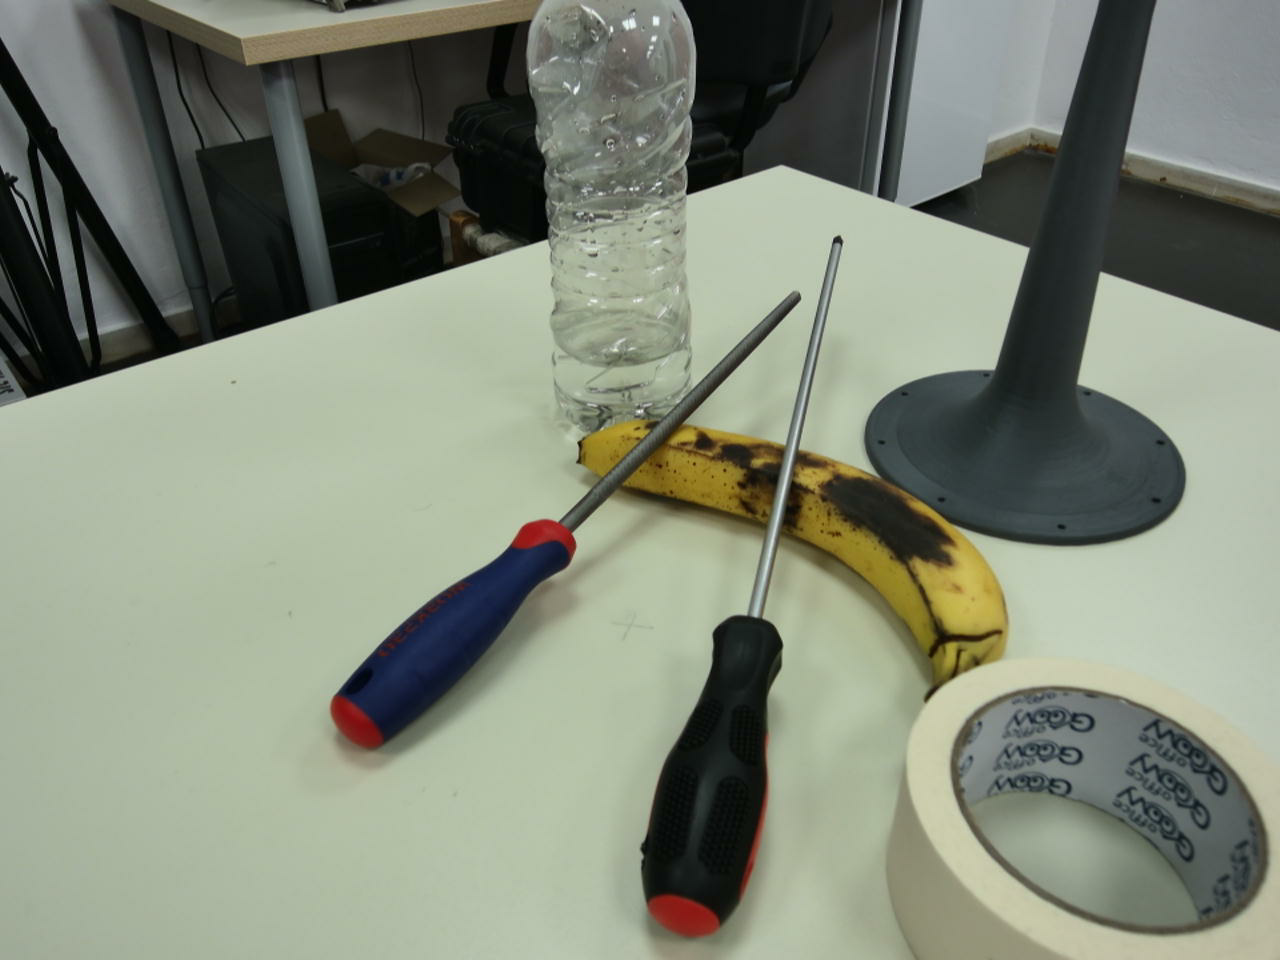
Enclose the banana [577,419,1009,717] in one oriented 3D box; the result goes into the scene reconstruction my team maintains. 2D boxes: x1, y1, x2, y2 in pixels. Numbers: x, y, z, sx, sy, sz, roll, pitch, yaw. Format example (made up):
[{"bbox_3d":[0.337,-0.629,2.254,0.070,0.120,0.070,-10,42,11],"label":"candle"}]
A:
[{"bbox_3d":[0.068,0.017,0.426,0.084,0.037,0.222,-24,41,-29],"label":"banana"}]
